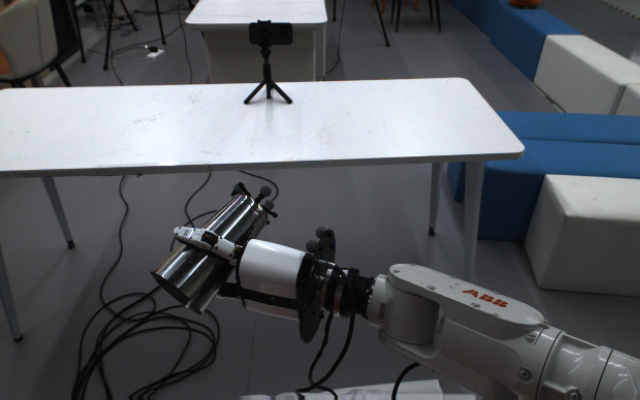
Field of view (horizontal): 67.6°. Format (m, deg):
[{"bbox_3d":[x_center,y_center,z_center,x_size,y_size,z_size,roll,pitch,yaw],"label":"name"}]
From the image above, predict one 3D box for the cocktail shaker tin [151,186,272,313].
[{"bbox_3d":[-0.154,0.067,0.710,0.093,0.093,0.170,23,57,27],"label":"cocktail shaker tin"}]
